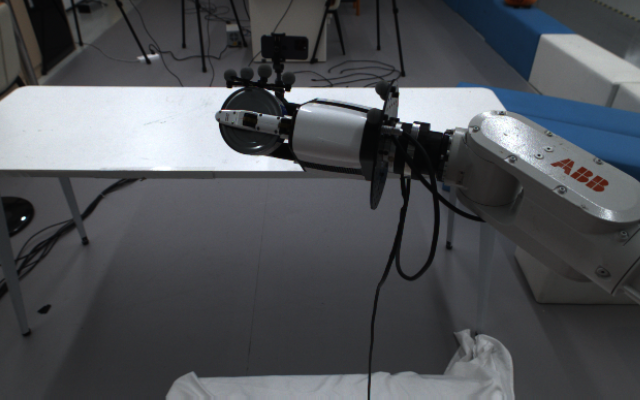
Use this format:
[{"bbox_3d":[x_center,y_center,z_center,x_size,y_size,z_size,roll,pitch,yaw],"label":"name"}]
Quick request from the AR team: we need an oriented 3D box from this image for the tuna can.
[{"bbox_3d":[-0.084,-0.102,0.624,0.085,0.085,0.034,11,3,13],"label":"tuna can"}]
